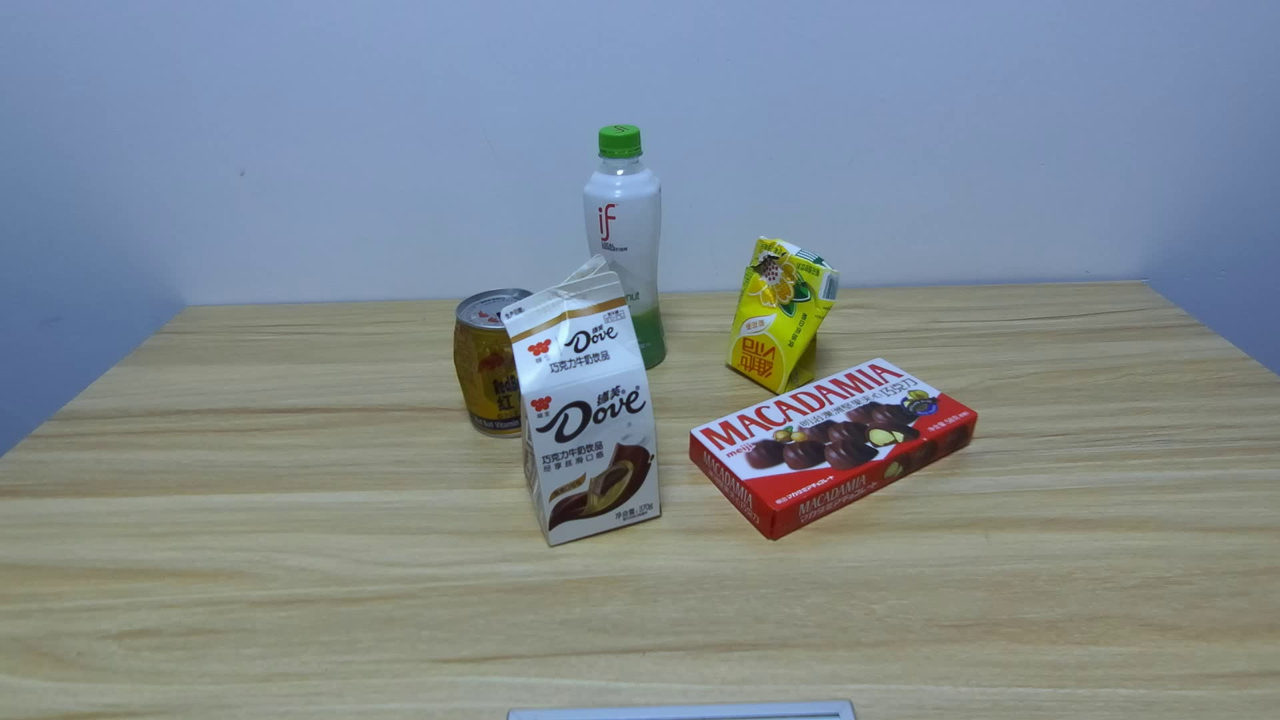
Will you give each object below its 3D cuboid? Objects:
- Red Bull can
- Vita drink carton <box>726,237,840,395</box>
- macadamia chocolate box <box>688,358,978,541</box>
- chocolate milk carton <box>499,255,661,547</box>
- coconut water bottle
[{"bbox_3d":[-0.103,0.000,0.536,0.072,0.092,0.072,0,32,0],"label":"Red Bull can"},{"bbox_3d":[0.113,-0.036,0.552,0.042,0.108,0.086,-10,32,-41],"label":"Vita drink carton"},{"bbox_3d":[0.132,0.053,0.484,0.178,0.027,0.095,-18,35,-23],"label":"macadamia chocolate box"},{"bbox_3d":[-0.034,0.021,0.421,0.076,0.156,0.073,-12,31,-15],"label":"chocolate milk carton"},{"bbox_3d":[-0.012,-0.085,0.560,0.063,0.189,0.063,-2,28,1],"label":"coconut water bottle"}]
